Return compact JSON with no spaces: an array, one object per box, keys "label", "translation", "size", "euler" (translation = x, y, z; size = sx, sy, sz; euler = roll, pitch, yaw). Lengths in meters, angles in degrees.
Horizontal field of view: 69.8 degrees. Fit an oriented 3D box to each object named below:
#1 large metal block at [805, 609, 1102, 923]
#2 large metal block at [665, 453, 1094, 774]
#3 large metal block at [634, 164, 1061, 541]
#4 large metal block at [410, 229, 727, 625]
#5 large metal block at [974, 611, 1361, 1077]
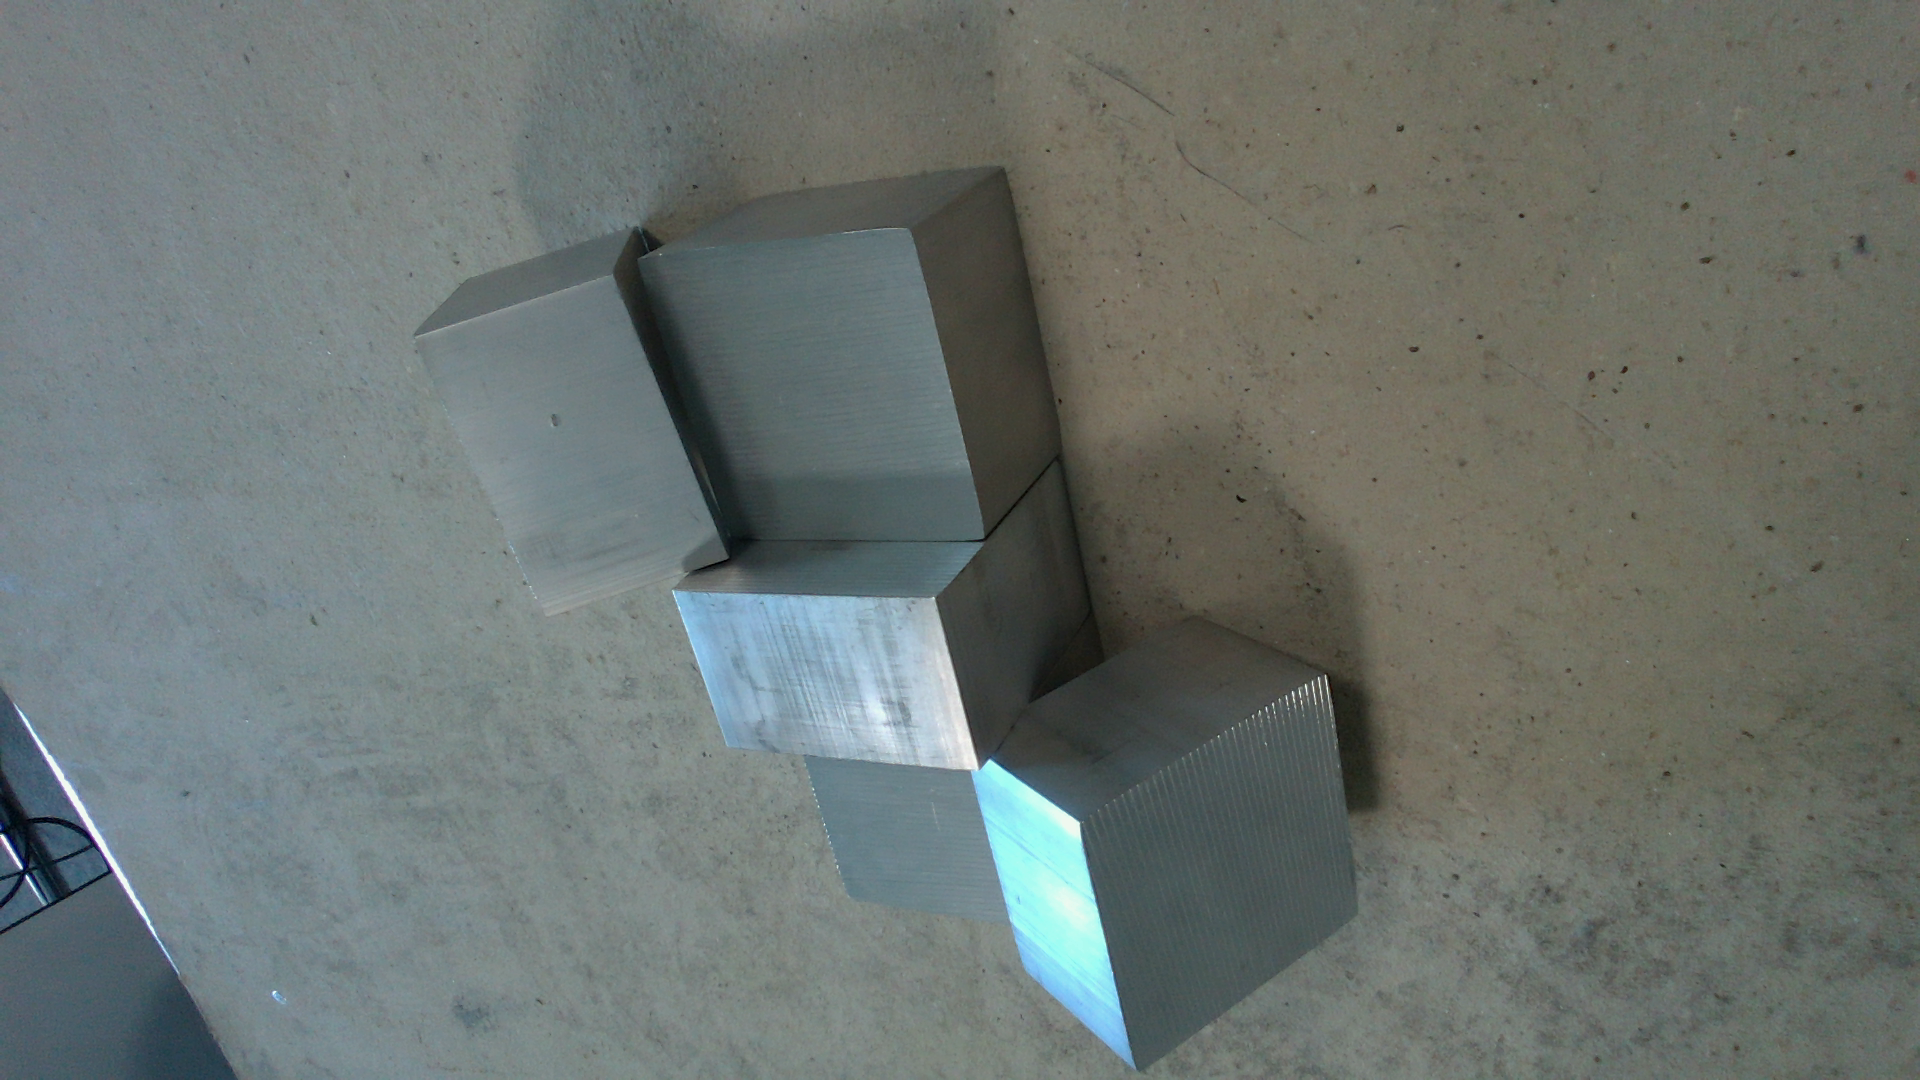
[{"label":"large metal block","translation":[0.002,0.066,0.417],"size":[0.080,0.050,0.080],"euler":[1,120,28]},{"label":"large metal block","translation":[-0.018,0.016,0.378],"size":[0.080,0.080,0.050],"euler":[0,119,28]},{"label":"large metal block","translation":[-0.027,-0.047,0.360],"size":[0.080,0.050,0.080],"euler":[1,118,28]},{"label":"large metal block","translation":[-0.102,-0.035,0.381],"size":[0.050,0.080,0.080],"euler":[-18,113,-1]},{"label":"large metal block","translation":[0.056,0.078,0.366],"size":[0.050,0.080,0.080],"euler":[26,136,54]}]
